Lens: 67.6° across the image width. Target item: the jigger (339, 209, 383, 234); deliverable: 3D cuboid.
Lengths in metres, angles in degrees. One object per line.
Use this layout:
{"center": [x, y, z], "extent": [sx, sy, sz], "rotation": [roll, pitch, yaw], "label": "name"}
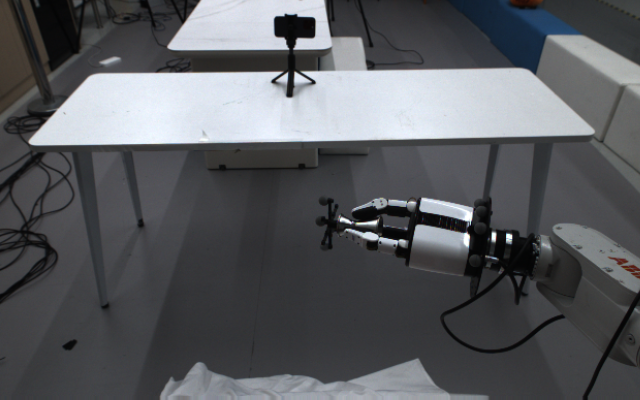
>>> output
{"center": [0.071, 0.040, 0.788], "extent": [0.071, 0.043, 0.043], "rotation": [5, 34, 18], "label": "jigger"}
